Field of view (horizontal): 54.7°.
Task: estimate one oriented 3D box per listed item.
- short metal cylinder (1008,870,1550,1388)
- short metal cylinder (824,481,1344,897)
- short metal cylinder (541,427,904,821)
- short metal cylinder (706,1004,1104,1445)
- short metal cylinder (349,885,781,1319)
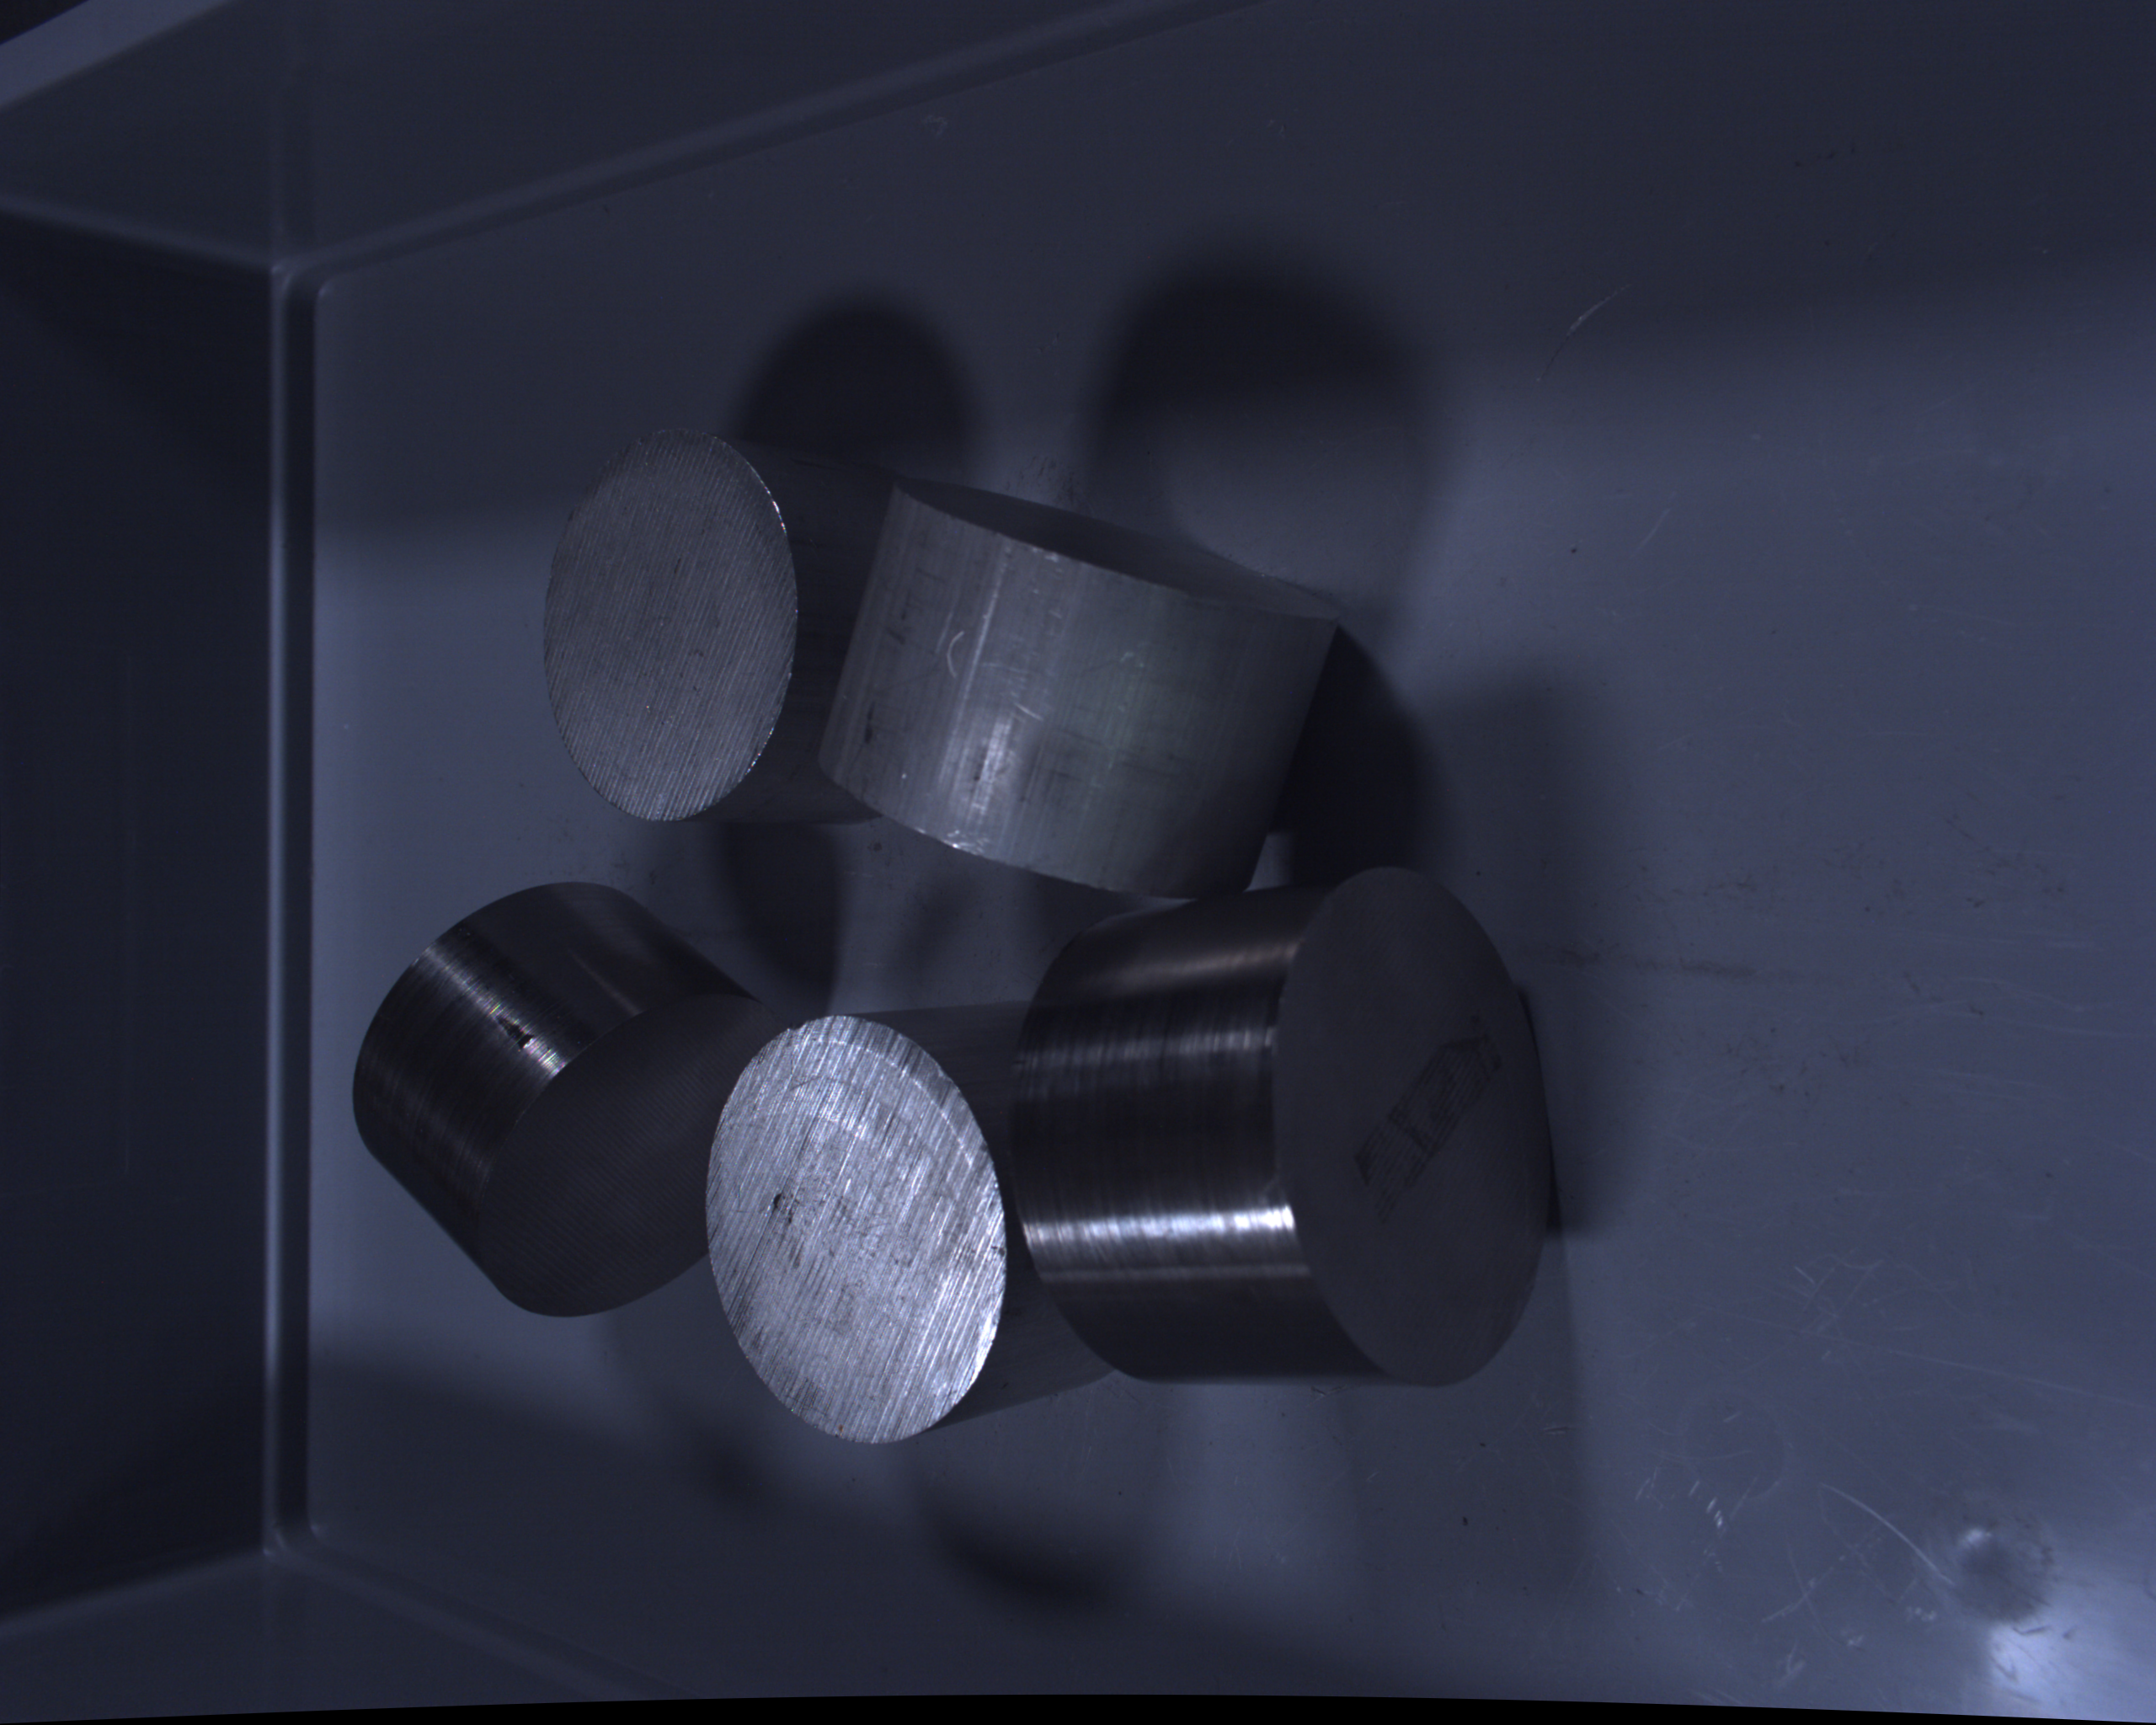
[{"bbox_3d":[0.034,0.044,0.339,0.050,0.081,0.080,-12,83,39],"label":"short metal cylinder"},{"bbox_3d":[0.001,-0.032,0.368,0.080,0.081,0.050,27,107,36],"label":"short metal cylinder"},{"bbox_3d":[-0.068,-0.048,0.442,0.080,0.050,0.079,0,90,39],"label":"short metal cylinder"},{"bbox_3d":[-0.027,0.068,0.408,0.080,0.050,0.079,0,90,39],"label":"short metal cylinder"},{"bbox_3d":[-0.109,0.052,0.455,0.050,0.081,0.079,34,111,34],"label":"short metal cylinder"}]
